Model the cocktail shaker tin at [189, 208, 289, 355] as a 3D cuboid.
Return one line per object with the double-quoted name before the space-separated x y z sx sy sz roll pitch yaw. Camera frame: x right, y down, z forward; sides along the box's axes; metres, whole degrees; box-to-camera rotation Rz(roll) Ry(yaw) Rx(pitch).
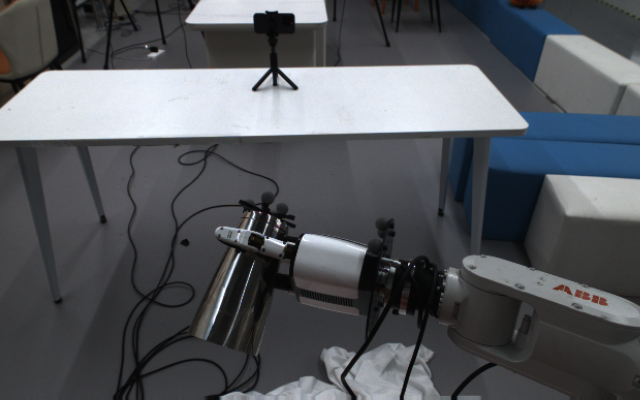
"cocktail shaker tin" -0.098 0.101 0.631 0.093 0.093 0.170 13 71 16
